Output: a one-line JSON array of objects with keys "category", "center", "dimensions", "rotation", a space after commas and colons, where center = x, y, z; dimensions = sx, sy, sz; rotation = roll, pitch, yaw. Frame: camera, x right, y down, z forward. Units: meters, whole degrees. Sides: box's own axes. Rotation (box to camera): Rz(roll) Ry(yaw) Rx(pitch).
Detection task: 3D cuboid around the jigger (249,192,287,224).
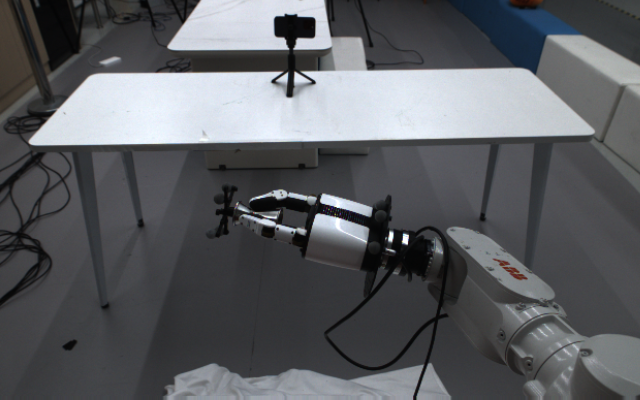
[{"category": "jigger", "center": [-0.088, 0.024, 0.735], "dimensions": [0.071, 0.043, 0.043], "rotation": [11, 35, 5]}]
